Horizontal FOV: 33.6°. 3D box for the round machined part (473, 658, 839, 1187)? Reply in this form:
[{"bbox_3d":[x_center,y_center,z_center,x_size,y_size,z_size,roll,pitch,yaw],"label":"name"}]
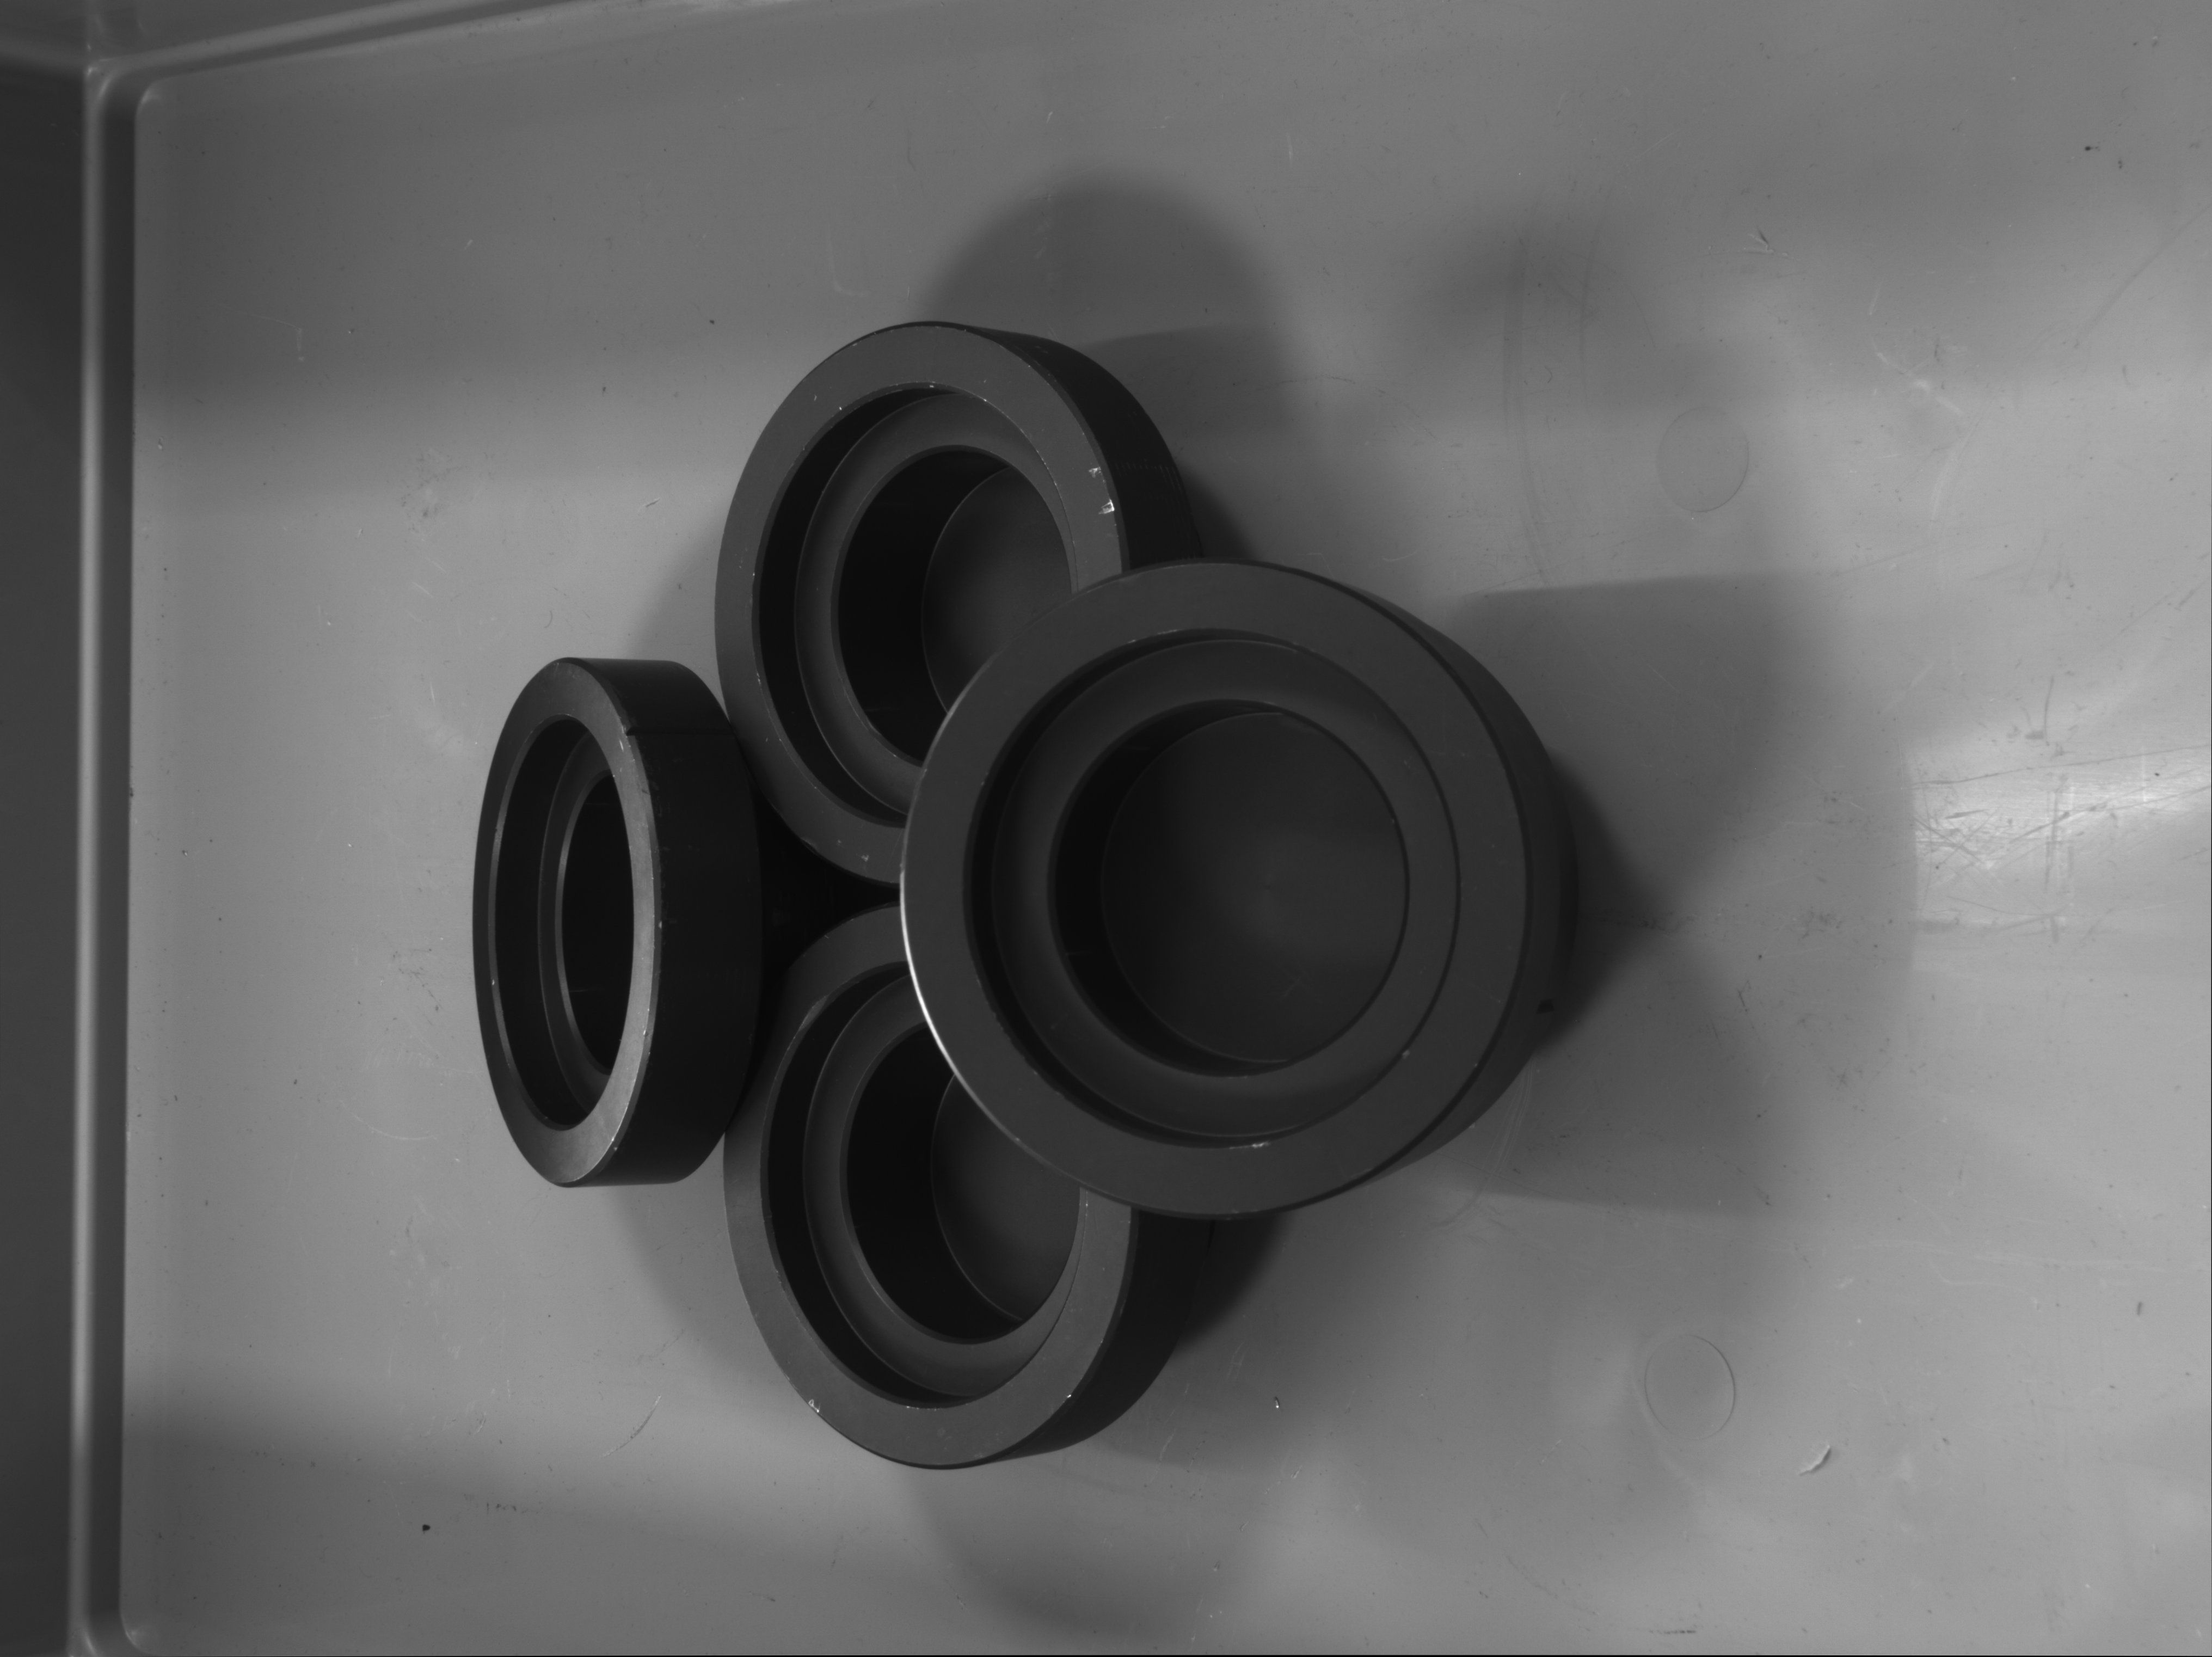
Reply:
[{"bbox_3d":[-0.083,0.018,0.689,0.098,0.042,0.098,-2,88,61],"label":"round machined part"}]

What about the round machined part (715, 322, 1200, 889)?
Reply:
[{"bbox_3d":[-0.021,-0.038,0.649,0.098,0.042,0.098,0,90,40],"label":"round machined part"}]

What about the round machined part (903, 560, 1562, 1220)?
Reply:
[{"bbox_3d":[0.022,0.009,0.563,0.098,0.042,0.098,0,90,18],"label":"round machined part"}]

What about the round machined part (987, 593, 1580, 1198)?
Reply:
[{"bbox_3d":[0.029,0.010,0.594,0.098,0.042,0.098,0,89,18],"label":"round machined part"}]

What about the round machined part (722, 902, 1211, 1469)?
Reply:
[{"bbox_3d":[-0.019,0.061,0.648,0.098,0.042,0.098,0,90,40],"label":"round machined part"}]
